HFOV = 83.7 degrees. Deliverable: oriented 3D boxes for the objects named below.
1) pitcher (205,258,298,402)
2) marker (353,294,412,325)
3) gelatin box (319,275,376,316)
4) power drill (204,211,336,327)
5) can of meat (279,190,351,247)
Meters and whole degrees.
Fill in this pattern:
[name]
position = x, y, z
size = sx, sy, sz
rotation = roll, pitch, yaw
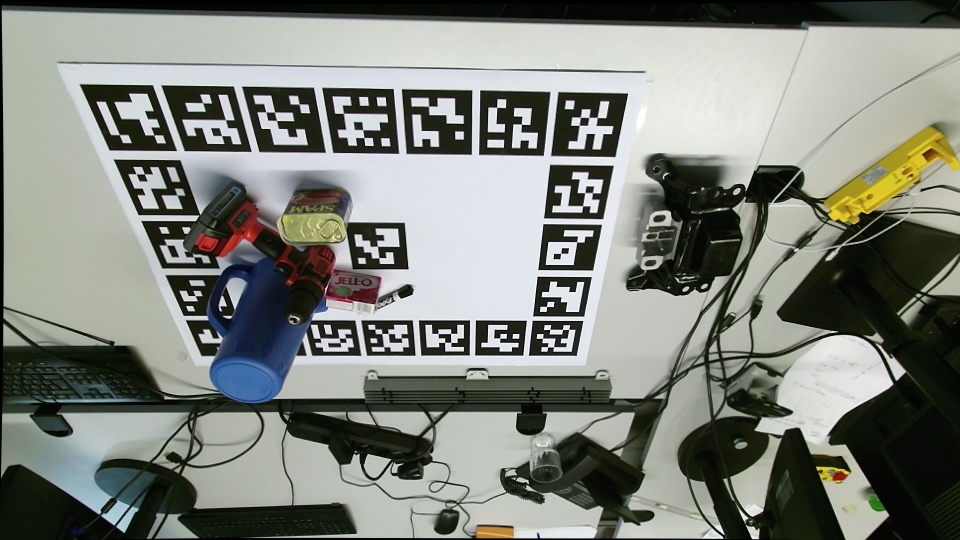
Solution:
[pitcher]
position = -0.379, 0.092, 0.892
size = 0.189, 0.241, 0.133
rotation = 25, 118, -26
[marker]
position = -0.183, 0.074, 1.009
size = 0.121, 0.019, 0.020
rotation = -23, 123, 13
[gelatin box]
position = -0.236, 0.044, 0.957
size = 0.090, 0.073, 0.030
rotation = 9, 121, -7
[power drill]
position = -0.330, -0.005, 0.852
size = 0.187, 0.184, 0.057
rotation = 33, 116, -16
[can of meat]
position = -0.262, -0.084, 0.853
size = 0.102, 0.083, 0.058
rotation = -1, 127, -1
